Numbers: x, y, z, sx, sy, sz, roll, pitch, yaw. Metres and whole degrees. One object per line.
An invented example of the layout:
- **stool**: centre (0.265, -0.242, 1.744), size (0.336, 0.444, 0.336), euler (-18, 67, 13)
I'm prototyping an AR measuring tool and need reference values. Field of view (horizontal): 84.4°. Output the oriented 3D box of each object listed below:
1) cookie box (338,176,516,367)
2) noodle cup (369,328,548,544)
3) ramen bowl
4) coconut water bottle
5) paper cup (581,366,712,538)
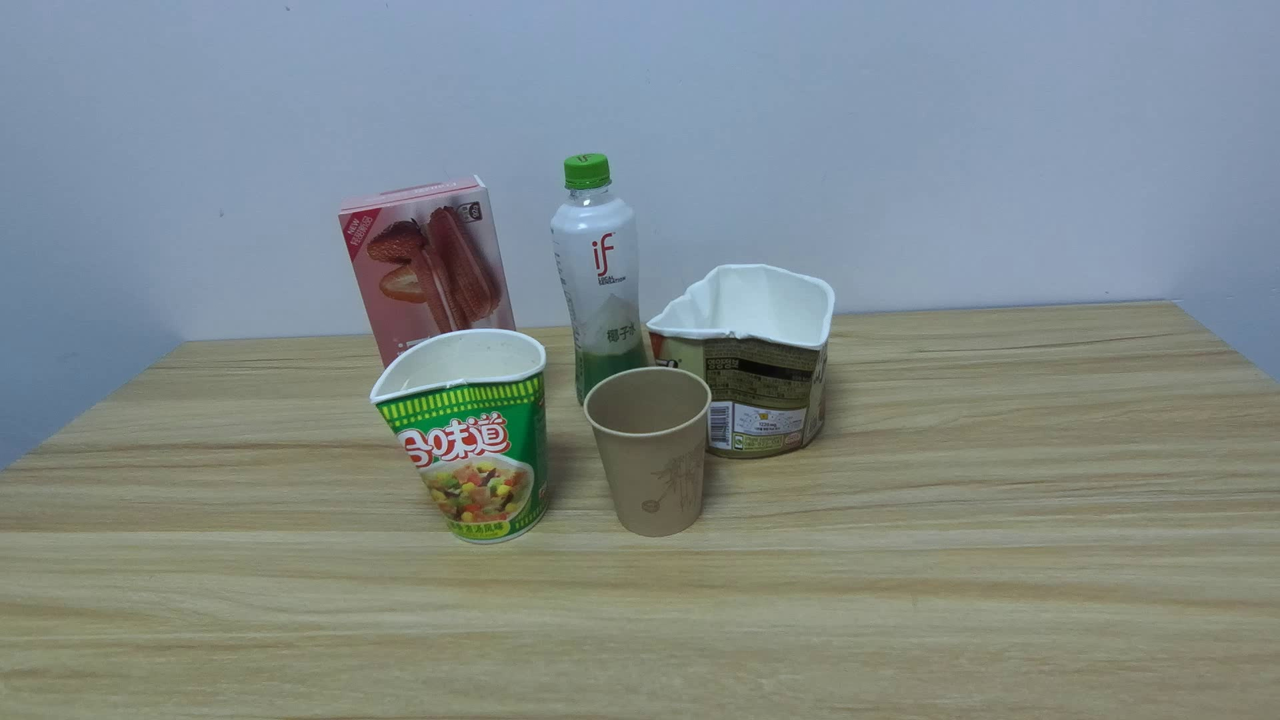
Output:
- **cookie box**: centre (-0.141, -0.030, 0.513), size (0.096, 0.185, 0.048), euler (-15, 25, -13)
- **noodle cup**: centre (-0.096, 0.048, 0.440), size (0.093, 0.109, 0.087), euler (2, 30, 15)
- **ramen bowl**: centre (0.079, -0.006, 0.512), size (0.113, 0.098, 0.134), euler (2, 31, 17)
- **coconut water bottle**: centre (-0.028, -0.054, 0.527), size (0.063, 0.189, 0.063), euler (-5, 26, 3)
- **paper cup**: centre (0.009, 0.058, 0.427), size (0.075, 0.082, 0.075), euler (-5, 30, 3)
